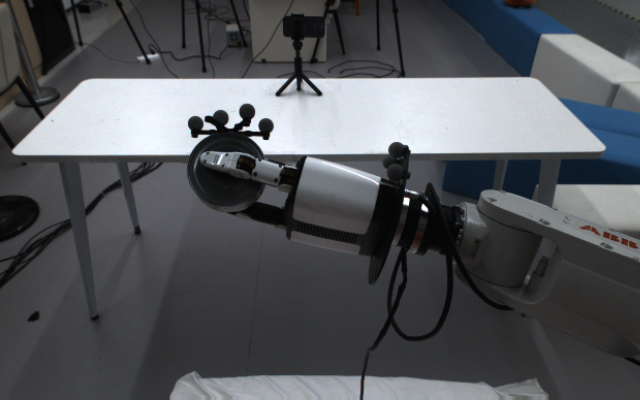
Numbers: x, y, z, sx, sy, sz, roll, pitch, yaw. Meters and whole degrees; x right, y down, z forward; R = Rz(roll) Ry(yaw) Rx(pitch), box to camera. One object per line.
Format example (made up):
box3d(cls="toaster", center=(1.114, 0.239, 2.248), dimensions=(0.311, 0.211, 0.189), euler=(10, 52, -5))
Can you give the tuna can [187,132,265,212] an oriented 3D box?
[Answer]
box3d(cls="tuna can", center=(-0.099, -0.027, 0.533), dimensions=(0.085, 0.034, 0.085), euler=(1, 70, -4))
